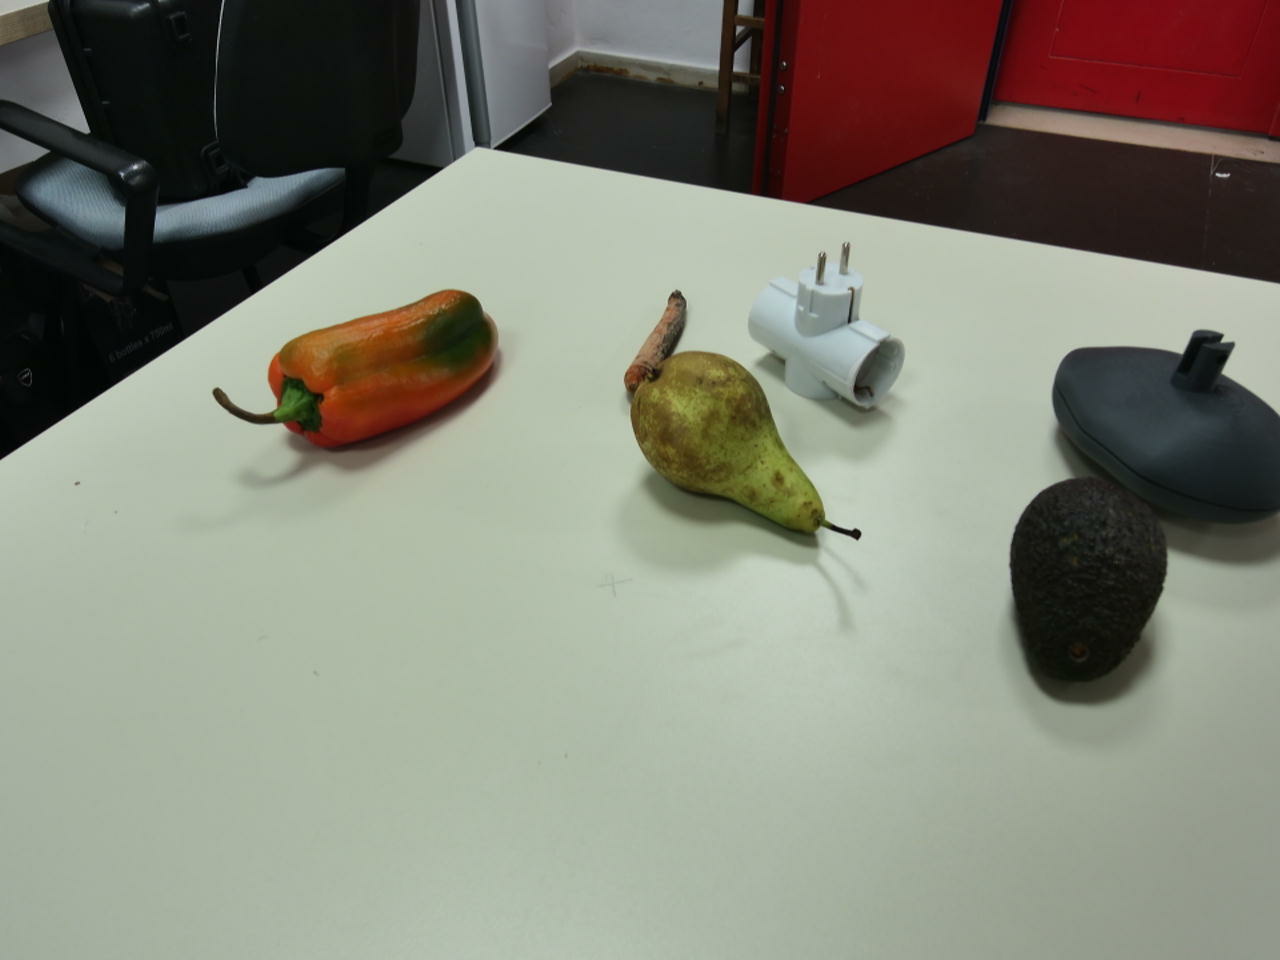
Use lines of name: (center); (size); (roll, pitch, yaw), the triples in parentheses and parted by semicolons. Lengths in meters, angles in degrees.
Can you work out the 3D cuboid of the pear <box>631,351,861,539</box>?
pear: (0.062, -0.020, 0.518); (0.144, 0.075, 0.071); (21, 43, 25)
